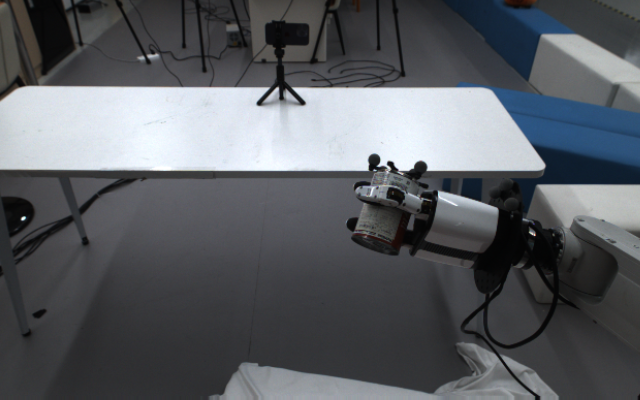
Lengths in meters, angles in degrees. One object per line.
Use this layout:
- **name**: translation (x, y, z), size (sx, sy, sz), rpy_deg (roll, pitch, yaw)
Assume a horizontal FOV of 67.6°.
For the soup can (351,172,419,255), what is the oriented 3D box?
- **soup can**: translation (0.092, 0.017, 0.665), size (0.067, 0.067, 0.101), rpy_deg (15, 75, 18)
